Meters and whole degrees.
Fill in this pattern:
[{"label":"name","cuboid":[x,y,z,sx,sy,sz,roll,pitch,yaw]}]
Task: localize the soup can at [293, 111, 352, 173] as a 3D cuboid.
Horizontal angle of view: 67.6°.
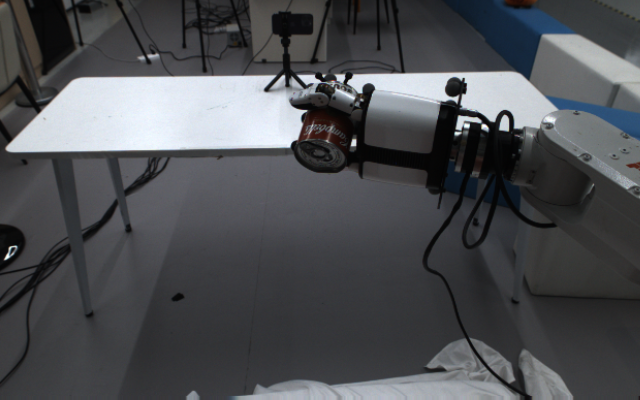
[{"label":"soup can","cuboid":[0.012,-0.095,0.619,0.067,0.067,0.101,9,59,10]}]
